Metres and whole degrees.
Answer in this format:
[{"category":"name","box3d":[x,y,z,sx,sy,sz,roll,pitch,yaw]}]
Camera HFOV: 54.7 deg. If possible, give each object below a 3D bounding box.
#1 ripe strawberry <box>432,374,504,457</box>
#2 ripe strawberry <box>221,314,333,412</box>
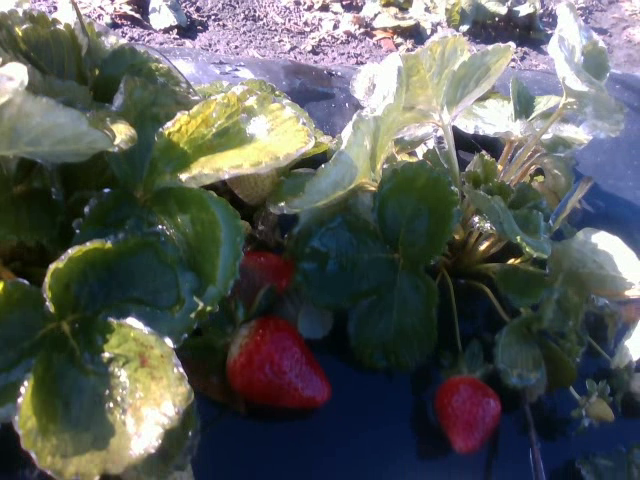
[{"category":"ripe strawberry","box3d":[0.074,0.089,0.301,0.039,0.047,0.040,32,-35,-15]},{"category":"ripe strawberry","box3d":[-0.014,0.062,0.283,0.056,0.044,0.040,42,-26,-10]}]
